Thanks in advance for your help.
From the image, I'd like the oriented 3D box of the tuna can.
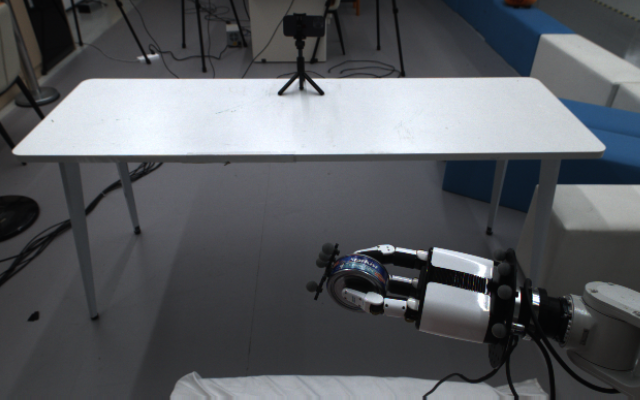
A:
[{"bbox_3d":[0.056,0.117,0.682,0.085,0.085,0.034,9,35,10],"label":"tuna can"}]
